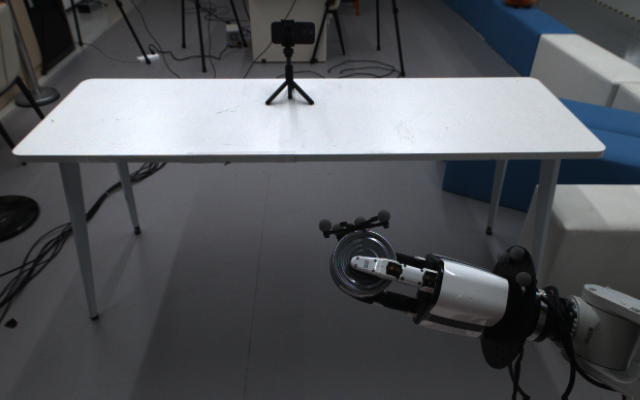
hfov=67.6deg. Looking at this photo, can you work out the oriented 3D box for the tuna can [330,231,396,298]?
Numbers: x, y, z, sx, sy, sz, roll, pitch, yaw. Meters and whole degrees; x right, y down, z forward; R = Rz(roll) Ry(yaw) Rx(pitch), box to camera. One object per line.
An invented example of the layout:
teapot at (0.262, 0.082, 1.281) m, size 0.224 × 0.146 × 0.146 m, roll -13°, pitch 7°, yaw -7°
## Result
tuna can at (0.061, 0.088, 0.625) m, size 0.085 × 0.034 × 0.085 m, roll 0°, pitch 72°, yaw -1°
